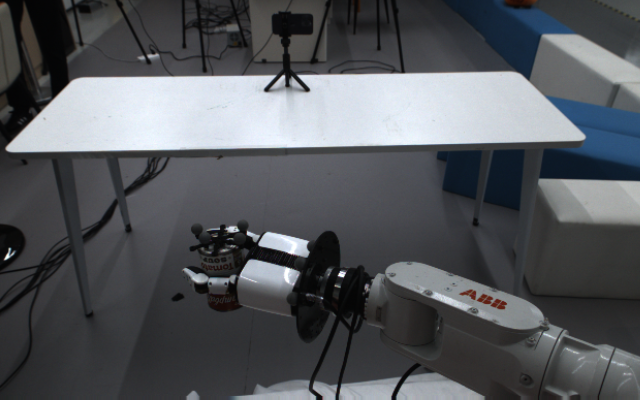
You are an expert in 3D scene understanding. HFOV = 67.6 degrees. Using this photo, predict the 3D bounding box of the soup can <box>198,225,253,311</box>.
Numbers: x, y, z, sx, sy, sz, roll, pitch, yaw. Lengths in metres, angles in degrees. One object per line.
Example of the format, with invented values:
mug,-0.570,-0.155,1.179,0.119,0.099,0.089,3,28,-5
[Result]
soup can,-0.144,0.109,0.733,0.067,0.101,0.067,-4,25,2
